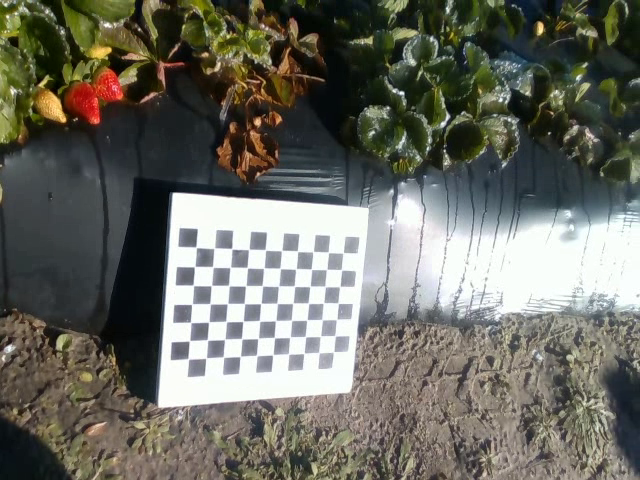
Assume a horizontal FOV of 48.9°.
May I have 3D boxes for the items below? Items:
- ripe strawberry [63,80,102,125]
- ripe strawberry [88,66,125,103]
[{"bbox_3d":[-0.244,-0.137,0.734,0.036,0.052,0.040,-38,-14,-20],"label":"ripe strawberry"},{"bbox_3d":[-0.229,-0.166,0.758,0.041,0.036,0.030,33,-9,-24],"label":"ripe strawberry"}]
